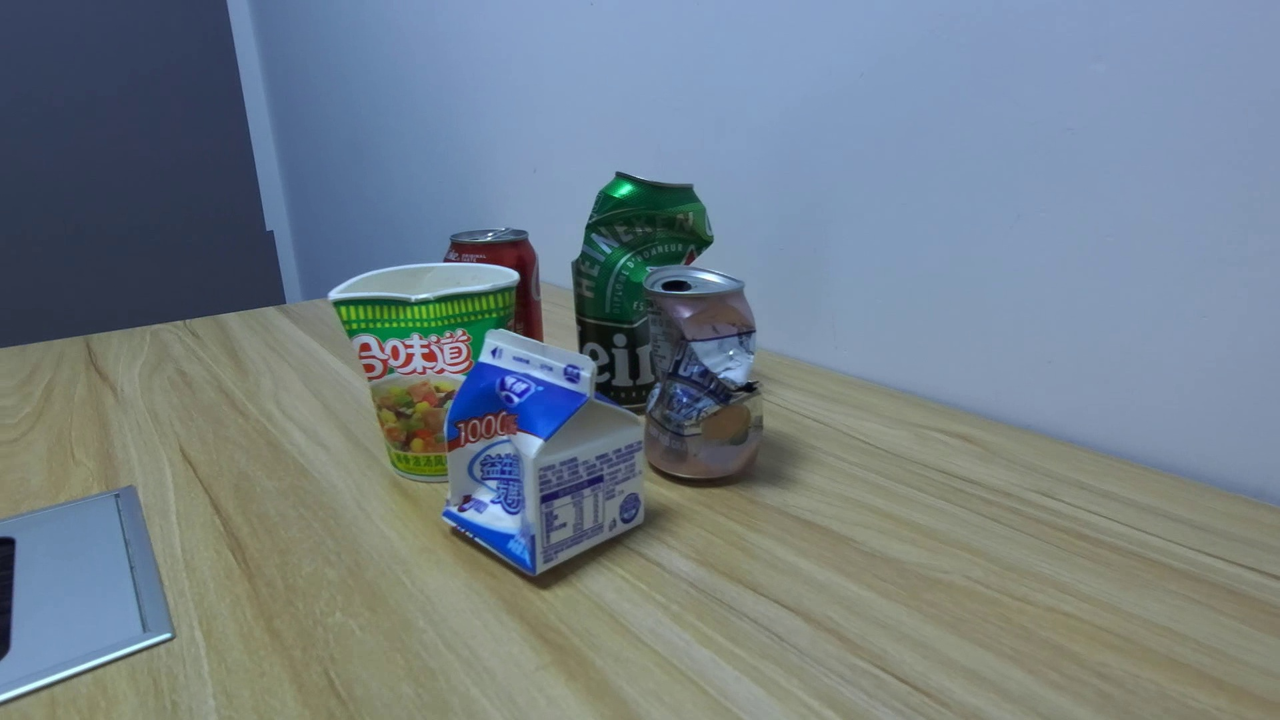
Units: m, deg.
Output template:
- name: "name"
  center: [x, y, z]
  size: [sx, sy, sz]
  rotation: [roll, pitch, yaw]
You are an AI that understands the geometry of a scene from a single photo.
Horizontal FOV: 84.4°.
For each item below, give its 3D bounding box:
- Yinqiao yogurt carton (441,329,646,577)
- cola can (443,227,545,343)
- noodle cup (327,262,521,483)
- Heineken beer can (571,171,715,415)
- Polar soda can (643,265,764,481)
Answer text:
- name: "Yinqiao yogurt carton"
  center: [-0.046, 0.037, 0.337]
  size: [0.077, 0.094, 0.071]
  rotation: [16, 19, 39]
- name: "cola can"
  center: [-0.105, -0.035, 0.518]
  size: [0.068, 0.120, 0.068]
  rotation: [-1, 17, 1]
- name: "noodle cup"
  center: [-0.115, 0.005, 0.415]
  size: [0.093, 0.109, 0.087]
  rotation: [1, 19, 7]
- name: "Heineken beer can"
  center: [-0.003, -0.043, 0.479]
  size: [0.079, 0.159, 0.067]
  rotation: [-6, 20, -34]
- name: "Polar soda can"
  center: [0.033, 0.008, 0.389]
  size: [0.074, 0.114, 0.070]
  rotation: [2, 26, 19]
